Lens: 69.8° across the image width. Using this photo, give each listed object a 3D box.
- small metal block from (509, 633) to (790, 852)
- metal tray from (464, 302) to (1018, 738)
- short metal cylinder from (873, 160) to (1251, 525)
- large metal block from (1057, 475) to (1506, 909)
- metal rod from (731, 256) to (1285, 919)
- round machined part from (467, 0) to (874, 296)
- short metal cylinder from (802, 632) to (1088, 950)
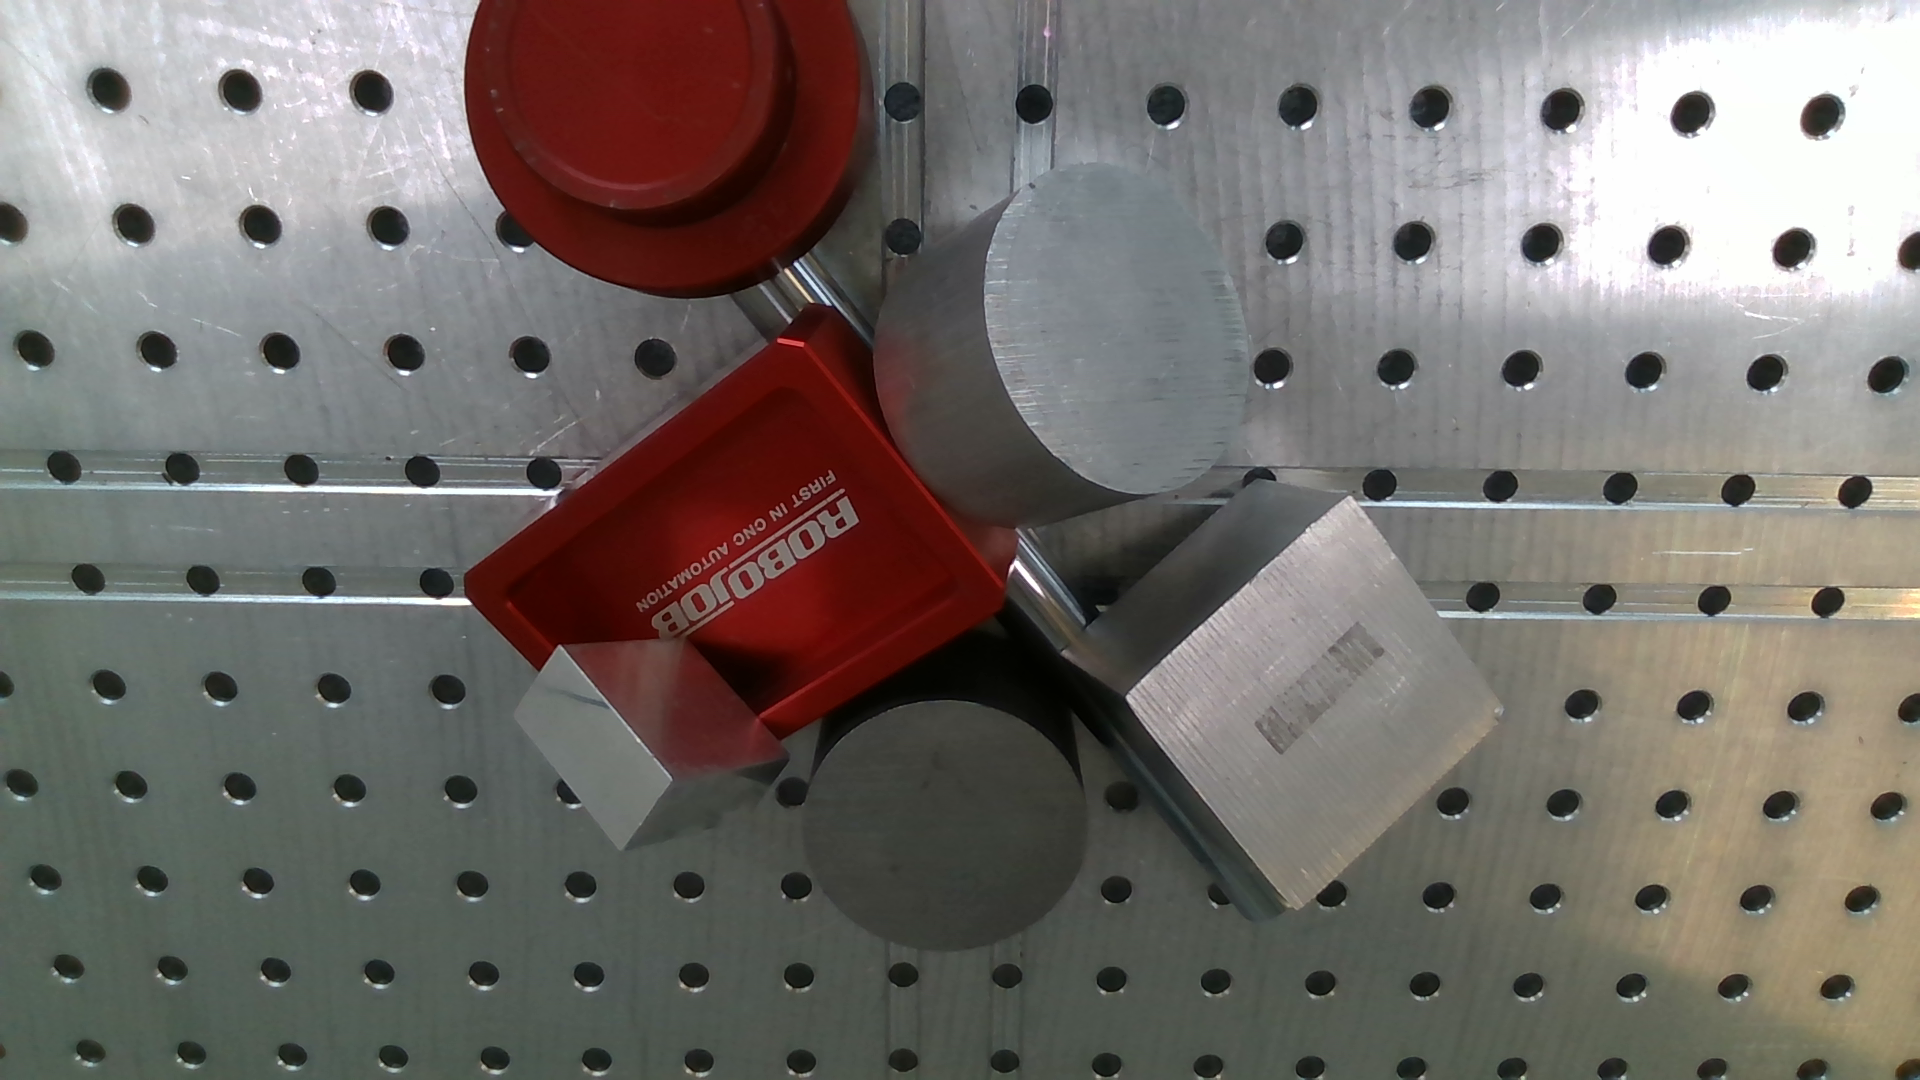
[{"bbox_3d":[-0.083,0.052,0.371,0.050,0.050,0.025,44,110,22],"label":"small metal block"},{"bbox_3d":[-0.061,0.008,0.381,0.130,0.030,0.090,-32,107,24],"label":"metal tray"},{"bbox_3d":[0.026,-0.047,0.344,0.080,0.050,0.080,7,78,-32],"label":"short metal cylinder"},{"bbox_3d":[0.089,0.039,0.385,0.080,0.050,0.080,-41,106,-7],"label":"large metal block"},{"bbox_3d":[0.007,-0.002,0.397,0.025,0.025,0.300,-36,106,12],"label":"metal rod"},{"bbox_3d":[-0.073,-0.110,0.332,0.098,0.042,0.098,0,95,6],"label":"round machined part"},{"bbox_3d":[-0.004,0.073,0.409,0.080,0.050,0.080,0,110,0],"label":"short metal cylinder"}]
